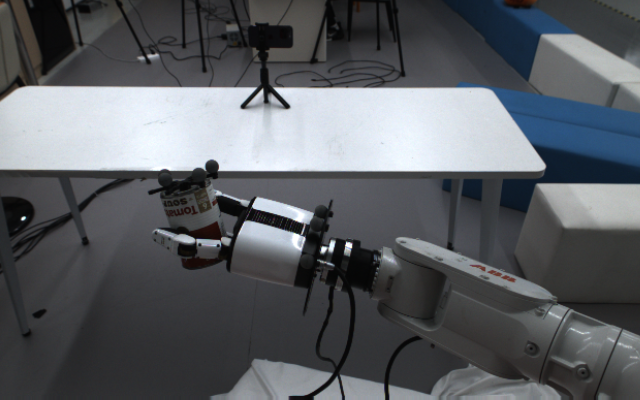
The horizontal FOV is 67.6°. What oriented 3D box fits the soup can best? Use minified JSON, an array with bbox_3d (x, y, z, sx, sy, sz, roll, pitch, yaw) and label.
[{"bbox_3d":[-0.159,0.031,0.630,0.067,0.101,0.067,-13,17,4],"label":"soup can"}]
